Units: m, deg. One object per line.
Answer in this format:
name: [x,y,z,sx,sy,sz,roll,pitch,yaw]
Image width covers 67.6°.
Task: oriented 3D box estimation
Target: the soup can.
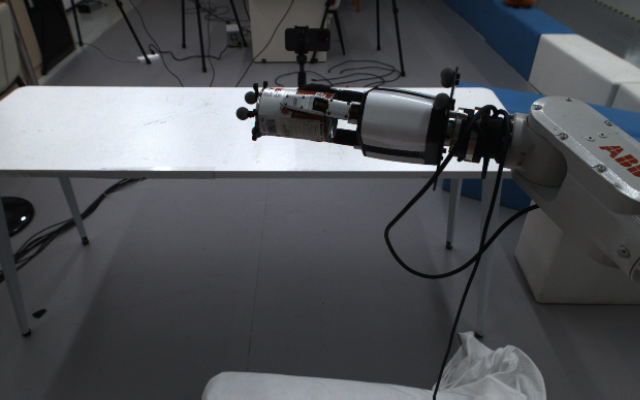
soup can: [-0.029,-0.118,0.670,0.101,0.067,0.067,7,35,10]
